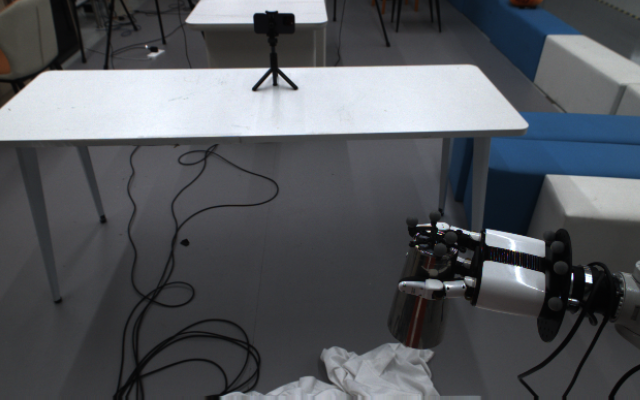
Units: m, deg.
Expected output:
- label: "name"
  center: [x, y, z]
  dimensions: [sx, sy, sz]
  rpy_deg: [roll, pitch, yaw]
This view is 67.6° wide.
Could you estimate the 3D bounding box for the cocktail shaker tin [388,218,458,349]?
- label: "cocktail shaker tin"
  center: [0.160, 0.128, 0.732]
  dimensions: [0.093, 0.170, 0.093]
  rpy_deg: [3, 33, -2]
